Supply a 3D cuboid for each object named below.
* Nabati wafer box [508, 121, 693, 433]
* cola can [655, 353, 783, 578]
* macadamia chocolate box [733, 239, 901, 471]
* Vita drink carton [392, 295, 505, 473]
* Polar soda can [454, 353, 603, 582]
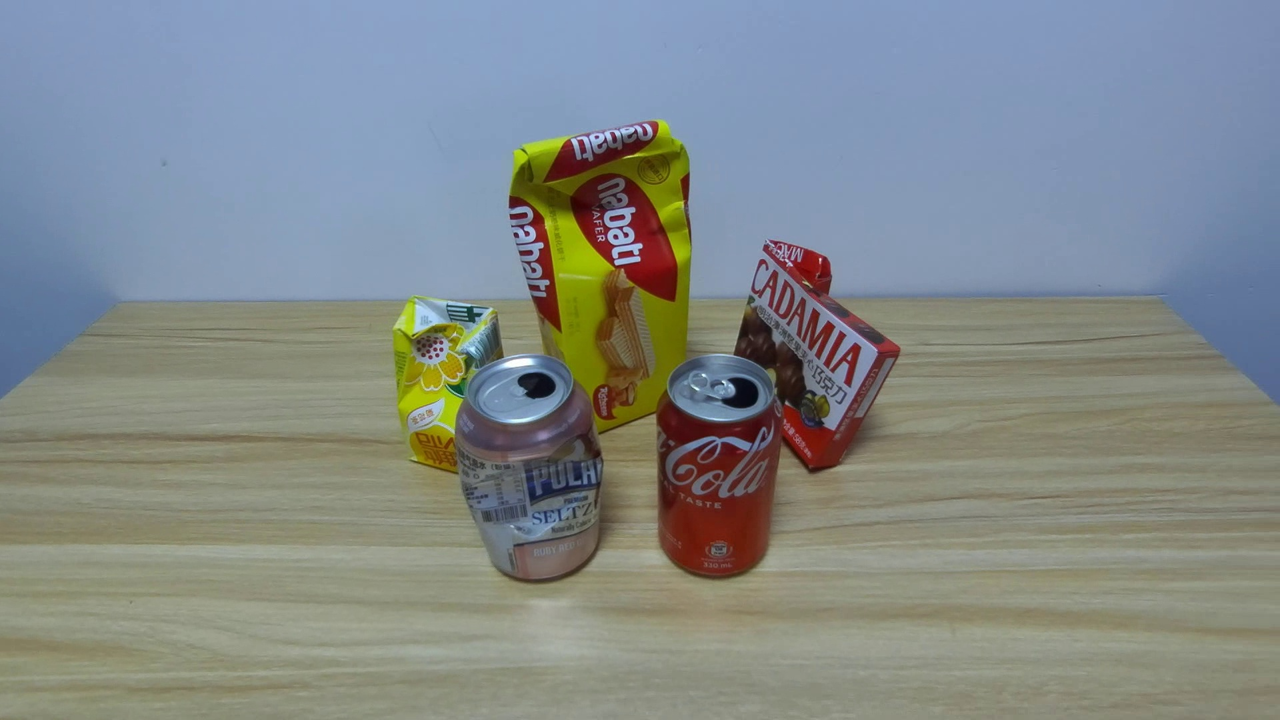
[{"bbox_3d":[-0.018,-0.045,0.462,0.113,0.205,0.042,-19,38,-20],"label":"Nabati wafer box"},{"bbox_3d":[0.043,0.058,0.388,0.068,0.120,0.067,-1,37,1],"label":"cola can"},{"bbox_3d":[0.113,-0.006,0.480,0.056,0.112,0.126,-11,36,-16],"label":"macadamia chocolate box"},{"bbox_3d":[-0.123,0.019,0.460,0.071,0.110,0.046,9,34,17],"label":"Vita drink carton"},{"bbox_3d":[-0.057,0.061,0.388,0.074,0.122,0.067,11,38,19],"label":"Polar soda can"}]
